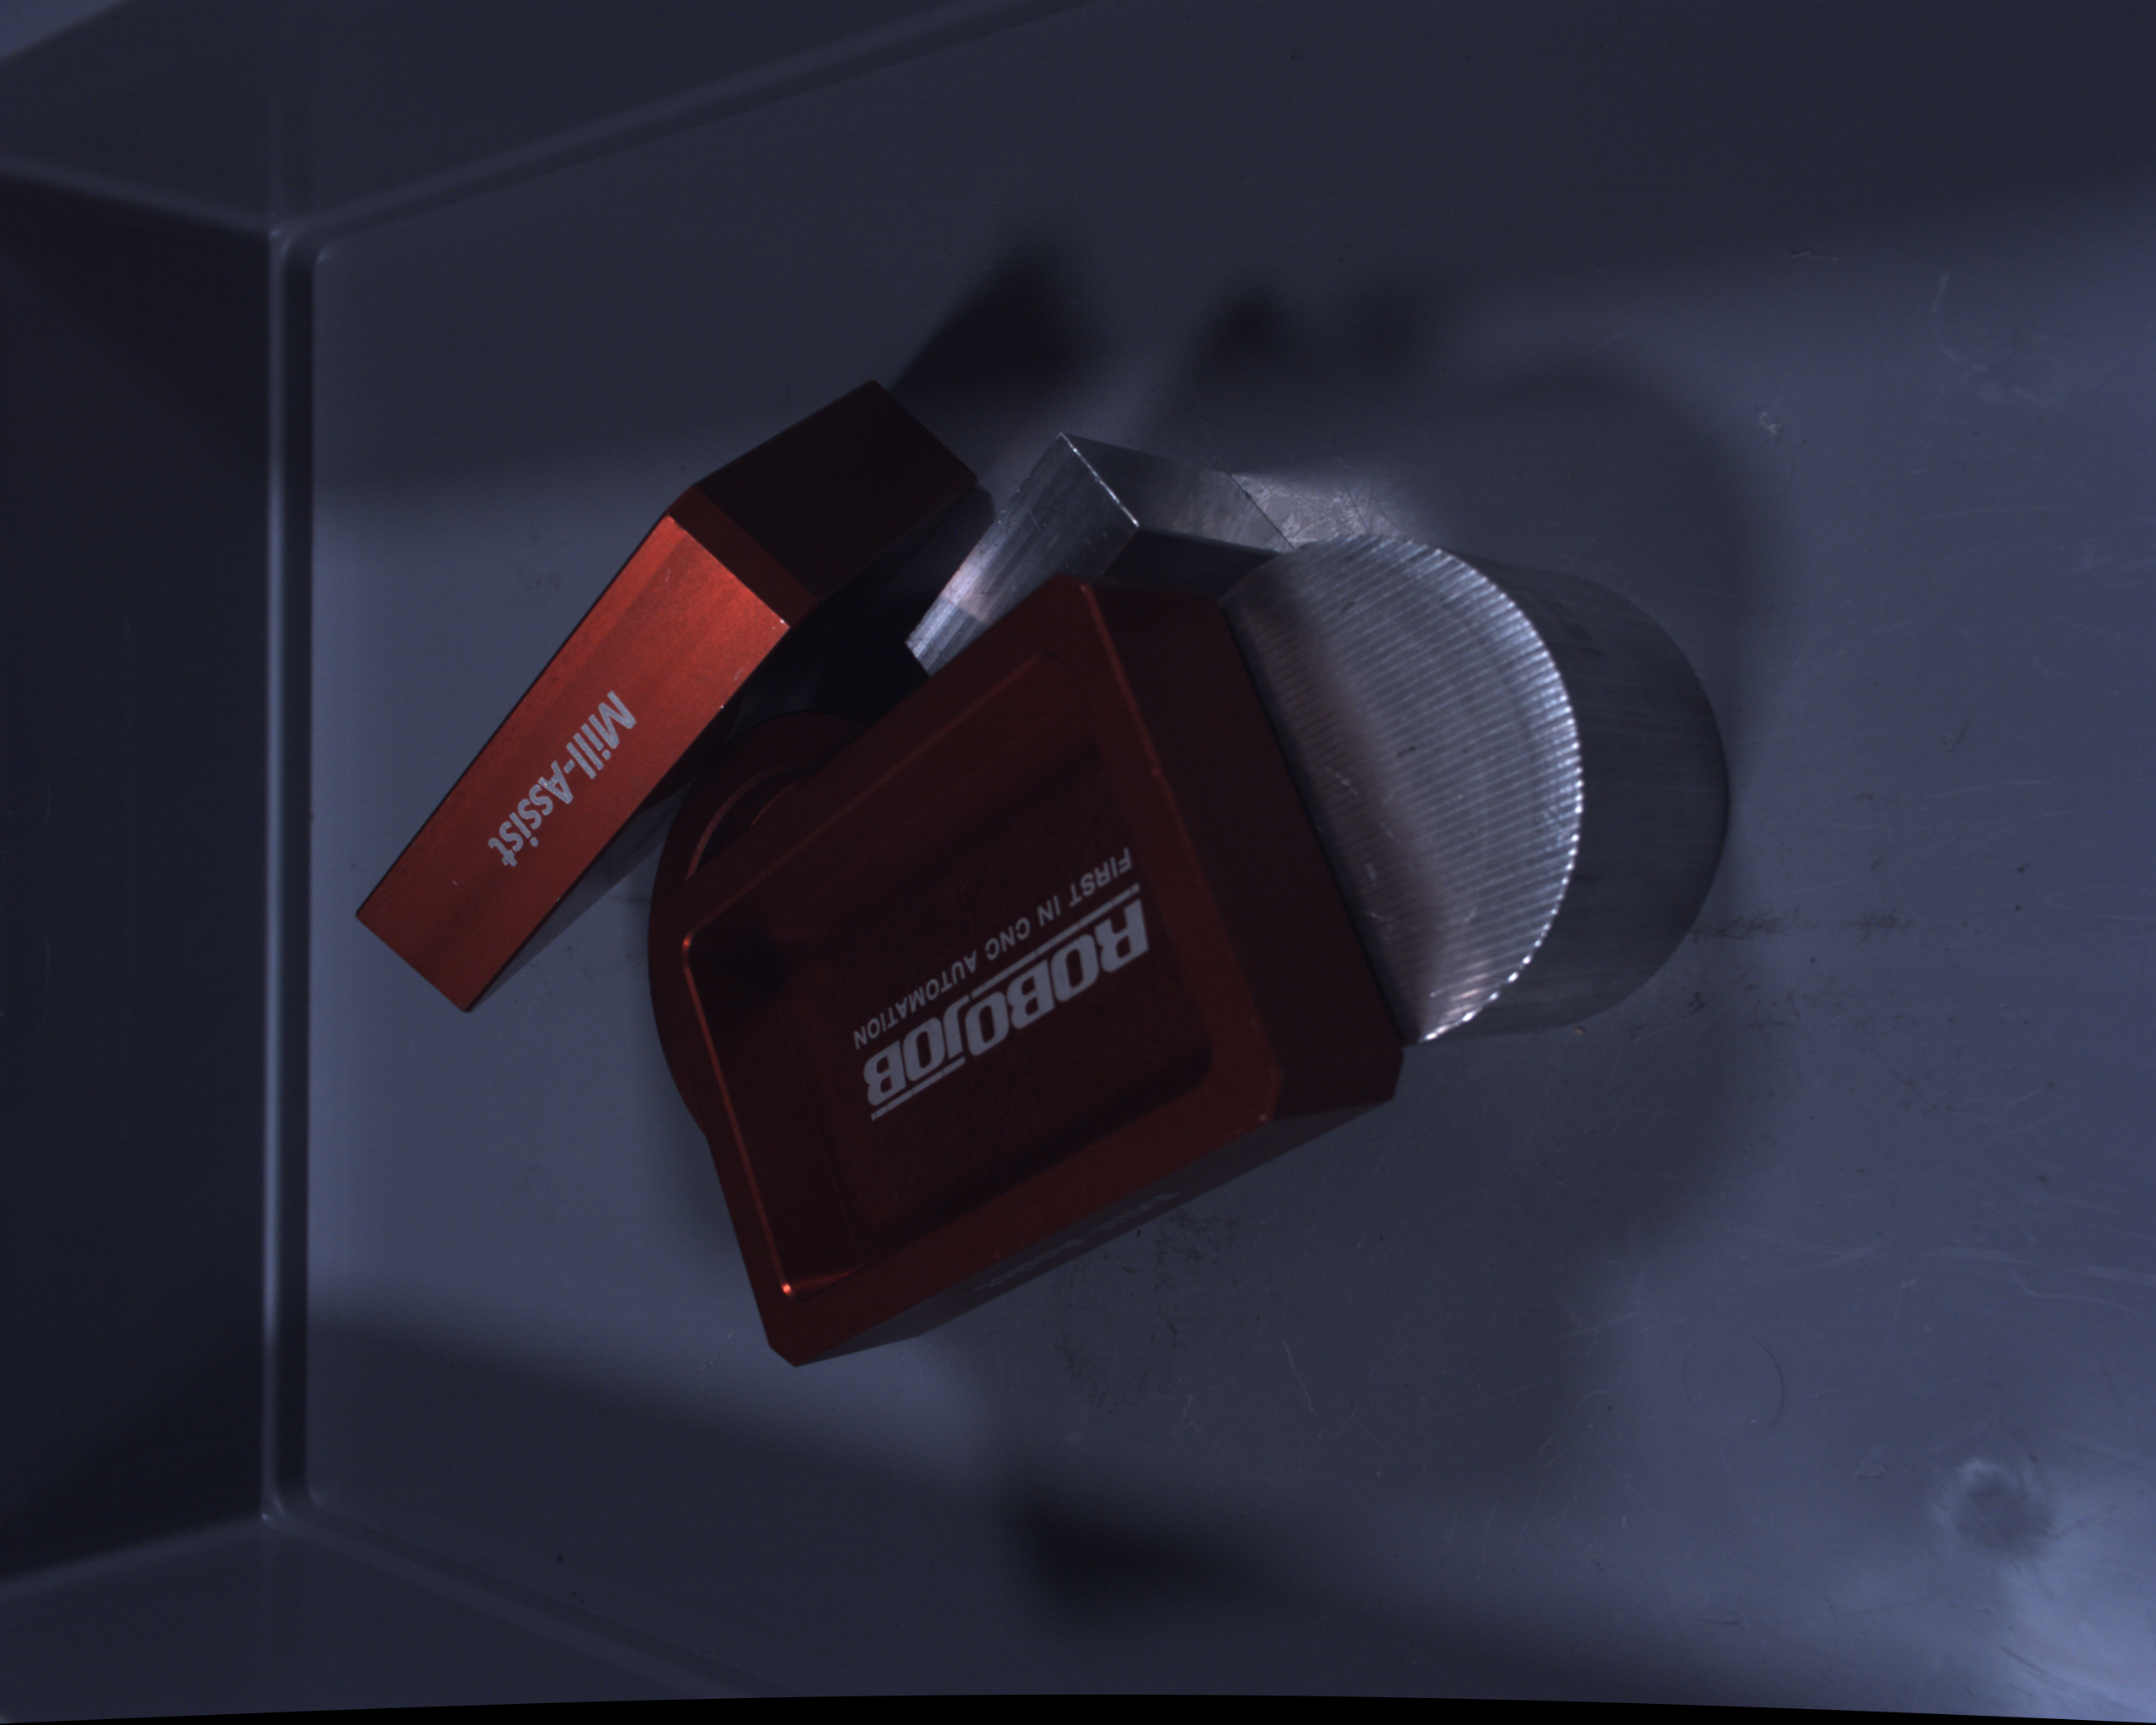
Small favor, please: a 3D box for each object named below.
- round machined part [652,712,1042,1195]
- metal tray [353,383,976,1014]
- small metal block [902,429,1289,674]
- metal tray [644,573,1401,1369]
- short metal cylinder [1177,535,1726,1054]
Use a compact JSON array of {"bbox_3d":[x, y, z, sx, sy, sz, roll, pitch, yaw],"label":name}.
[{"bbox_3d":[-0.040,0.019,0.426,0.098,0.042,0.097,0,90,39],"label":"round machined part"},{"bbox_3d":[-0.084,-0.034,0.427,0.030,0.090,0.129,44,120,-5],"label":"metal tray"},{"bbox_3d":[0.005,-0.048,0.382,0.050,0.050,0.025,-50,61,27],"label":"small metal block"},{"bbox_3d":[-0.017,0.022,0.351,0.130,0.030,0.090,-35,68,39],"label":"metal tray"},{"bbox_3d":[0.057,-0.010,0.340,0.080,0.050,0.079,0,90,39],"label":"short metal cylinder"}]
